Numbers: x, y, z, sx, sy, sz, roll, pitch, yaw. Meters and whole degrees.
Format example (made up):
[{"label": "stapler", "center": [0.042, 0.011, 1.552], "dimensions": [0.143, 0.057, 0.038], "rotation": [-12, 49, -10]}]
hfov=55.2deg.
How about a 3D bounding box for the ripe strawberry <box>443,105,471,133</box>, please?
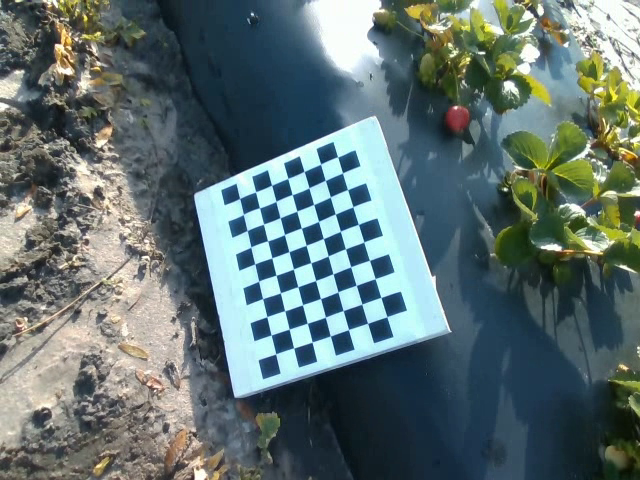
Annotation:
[{"label": "ripe strawberry", "center": [0.170, -0.144, 0.754], "dimensions": [0.030, 0.033, 0.045], "rotation": [7, 46, 24]}]
